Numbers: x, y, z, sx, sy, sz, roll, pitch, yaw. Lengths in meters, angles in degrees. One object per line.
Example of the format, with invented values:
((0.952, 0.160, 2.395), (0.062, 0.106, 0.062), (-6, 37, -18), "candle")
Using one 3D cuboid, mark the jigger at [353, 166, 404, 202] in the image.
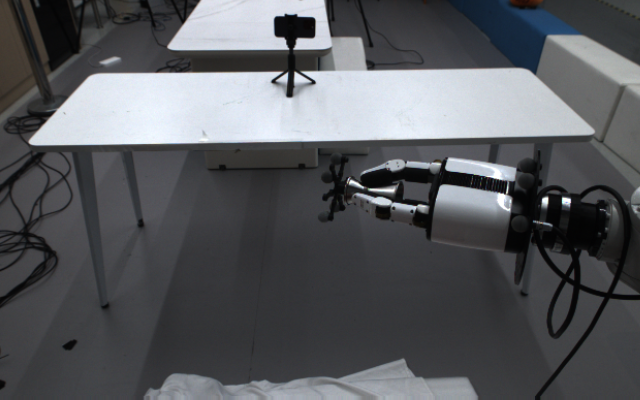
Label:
((0.076, -0.010, 0.629), (0.071, 0.043, 0.043), (10, 35, 22), "jigger")
